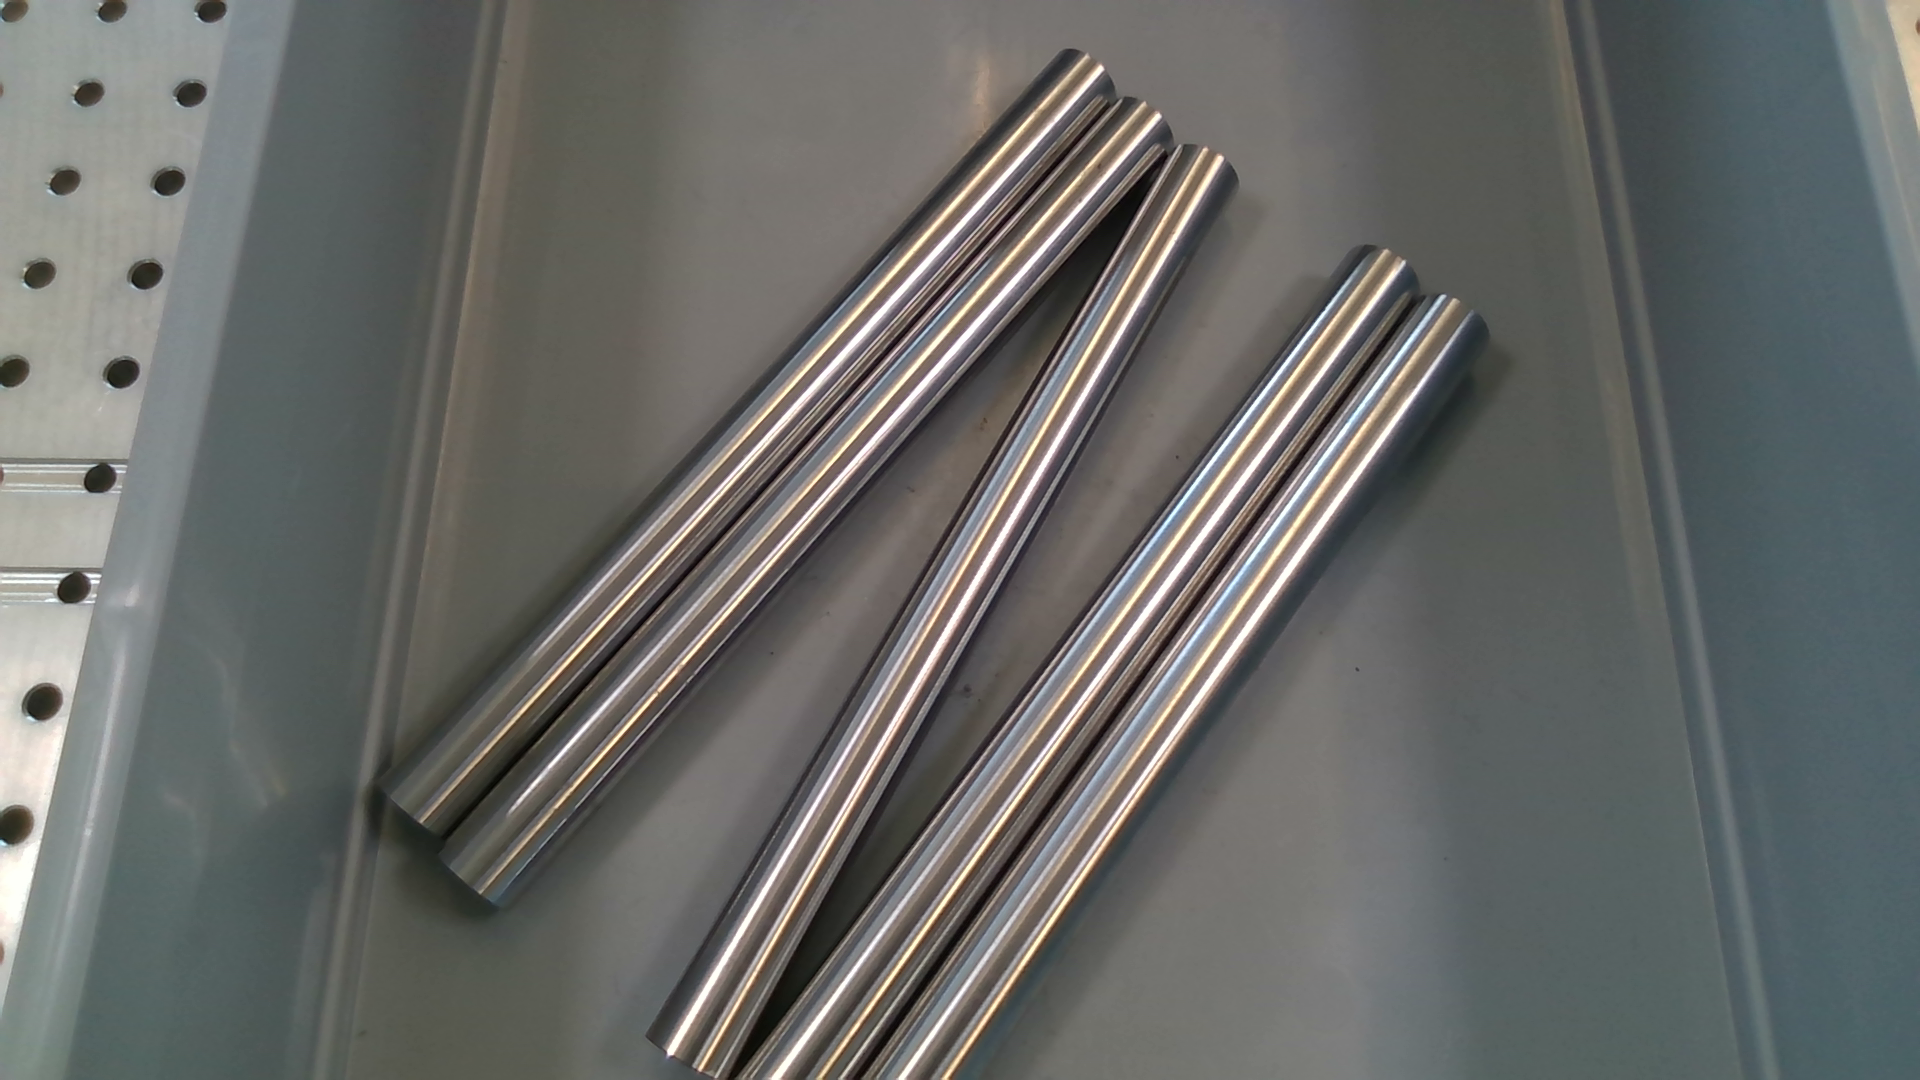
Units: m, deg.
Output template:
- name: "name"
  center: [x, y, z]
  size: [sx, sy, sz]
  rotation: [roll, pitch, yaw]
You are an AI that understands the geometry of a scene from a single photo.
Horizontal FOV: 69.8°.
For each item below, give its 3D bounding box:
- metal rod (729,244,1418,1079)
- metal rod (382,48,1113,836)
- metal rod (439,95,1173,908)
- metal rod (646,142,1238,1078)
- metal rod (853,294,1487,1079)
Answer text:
- name: "metal rod"
  center: [0.040, 0.031, 0.384]
  size: [0.025, 0.025, 0.300]
  rotation: [35, 74, 12]
- name: "metal rod"
  center: [-0.052, -0.039, 0.409]
  size: [0.025, 0.025, 0.300]
  rotation: [37, 74, 12]
- name: "metal rod"
  center: [-0.035, -0.022, 0.403]
  size: [0.025, 0.025, 0.300]
  rotation: [37, 74, 12]
- name: "metal rod"
  center: [0.004, 0.007, 0.392]
  size: [0.025, 0.025, 0.299]
  rotation: [28, 73, 9]
- name: "metal rod"
  center: [0.059, 0.047, 0.378]
  size: [0.025, 0.025, 0.300]
  rotation: [35, 74, 12]
